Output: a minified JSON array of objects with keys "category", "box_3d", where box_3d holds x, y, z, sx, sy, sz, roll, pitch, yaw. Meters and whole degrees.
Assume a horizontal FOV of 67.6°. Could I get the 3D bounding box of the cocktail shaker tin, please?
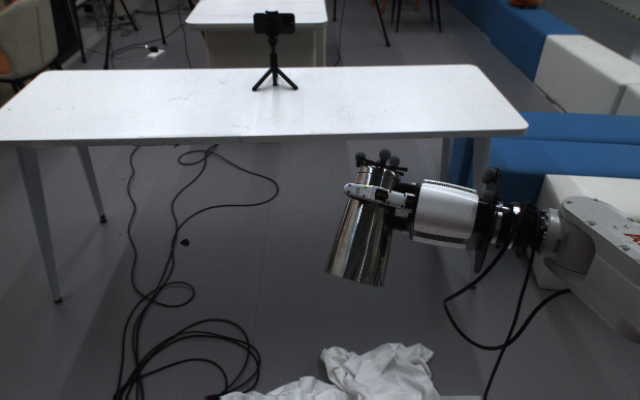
[{"category":"cocktail shaker tin","box_3d":[0.072,0.034,0.739,0.093,0.170,0.093,14,-5,1]}]
